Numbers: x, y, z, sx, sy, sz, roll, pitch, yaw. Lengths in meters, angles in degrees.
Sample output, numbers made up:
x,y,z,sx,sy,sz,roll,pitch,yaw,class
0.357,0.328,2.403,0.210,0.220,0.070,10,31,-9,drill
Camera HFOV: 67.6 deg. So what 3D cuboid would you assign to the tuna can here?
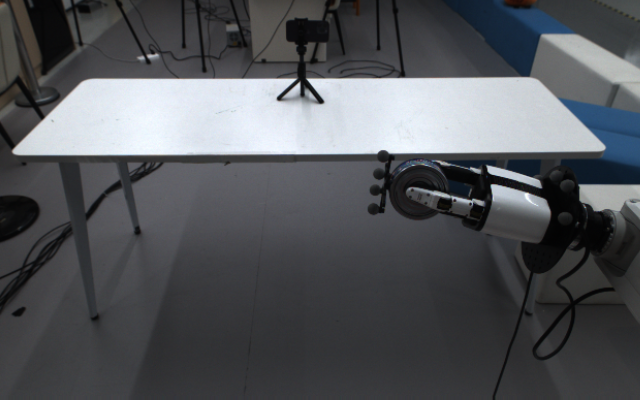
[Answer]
x,y,z,sx,sy,sz,roll,pitch,yaw,class
0.144,-0.013,0.692,0.085,0.085,0.034,4,17,3,tuna can
